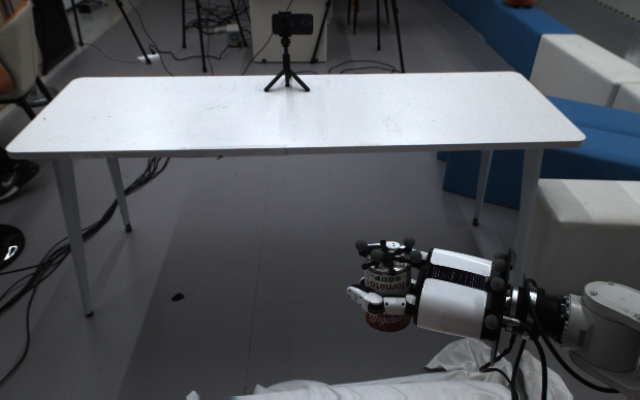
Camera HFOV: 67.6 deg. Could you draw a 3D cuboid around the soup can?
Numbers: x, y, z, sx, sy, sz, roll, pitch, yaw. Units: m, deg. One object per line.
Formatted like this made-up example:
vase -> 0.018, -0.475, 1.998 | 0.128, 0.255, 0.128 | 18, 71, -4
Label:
soup can -> 0.099, 0.129, 0.700 | 0.067, 0.101, 0.067 | -3, 25, 2
